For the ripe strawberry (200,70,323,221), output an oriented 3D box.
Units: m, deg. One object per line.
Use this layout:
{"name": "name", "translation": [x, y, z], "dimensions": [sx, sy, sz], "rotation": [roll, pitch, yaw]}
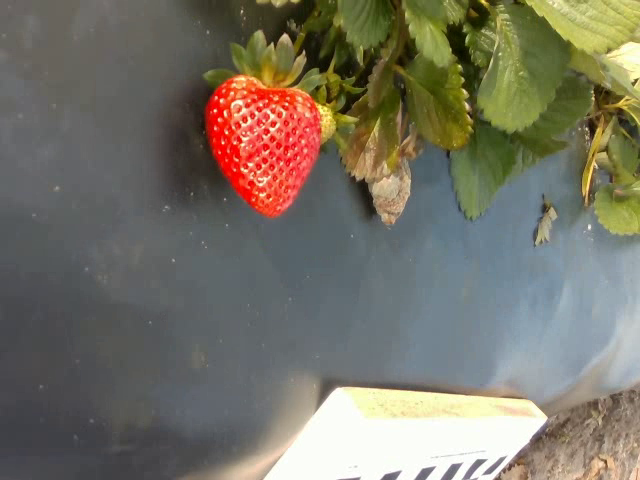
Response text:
{"name": "ripe strawberry", "translation": [-0.019, -0.031, 0.205], "dimensions": [0.050, 0.058, 0.045], "rotation": [-15, -25, 31]}
